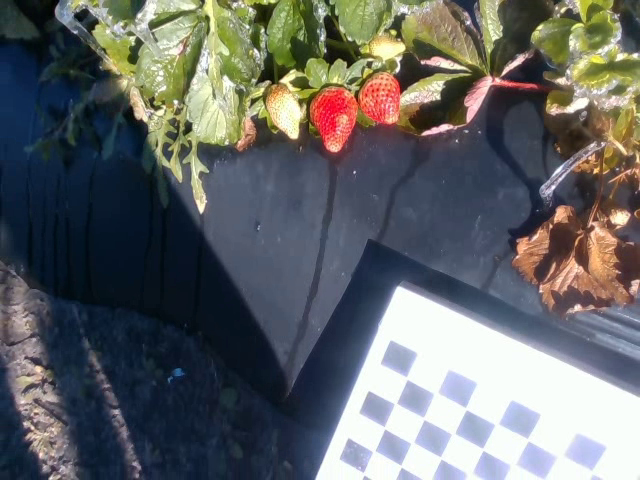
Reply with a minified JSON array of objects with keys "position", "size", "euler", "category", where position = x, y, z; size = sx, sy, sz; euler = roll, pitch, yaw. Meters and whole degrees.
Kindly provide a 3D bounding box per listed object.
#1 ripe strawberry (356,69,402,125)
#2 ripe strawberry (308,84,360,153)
[{"position":[0.047,-0.100,0.424],"size":[0.036,0.041,0.030],"euler":[-41,-9,23],"category":"ripe strawberry"},{"position":[0.011,-0.081,0.422],"size":[0.037,0.051,0.040],"euler":[-15,-31,22],"category":"ripe strawberry"}]
